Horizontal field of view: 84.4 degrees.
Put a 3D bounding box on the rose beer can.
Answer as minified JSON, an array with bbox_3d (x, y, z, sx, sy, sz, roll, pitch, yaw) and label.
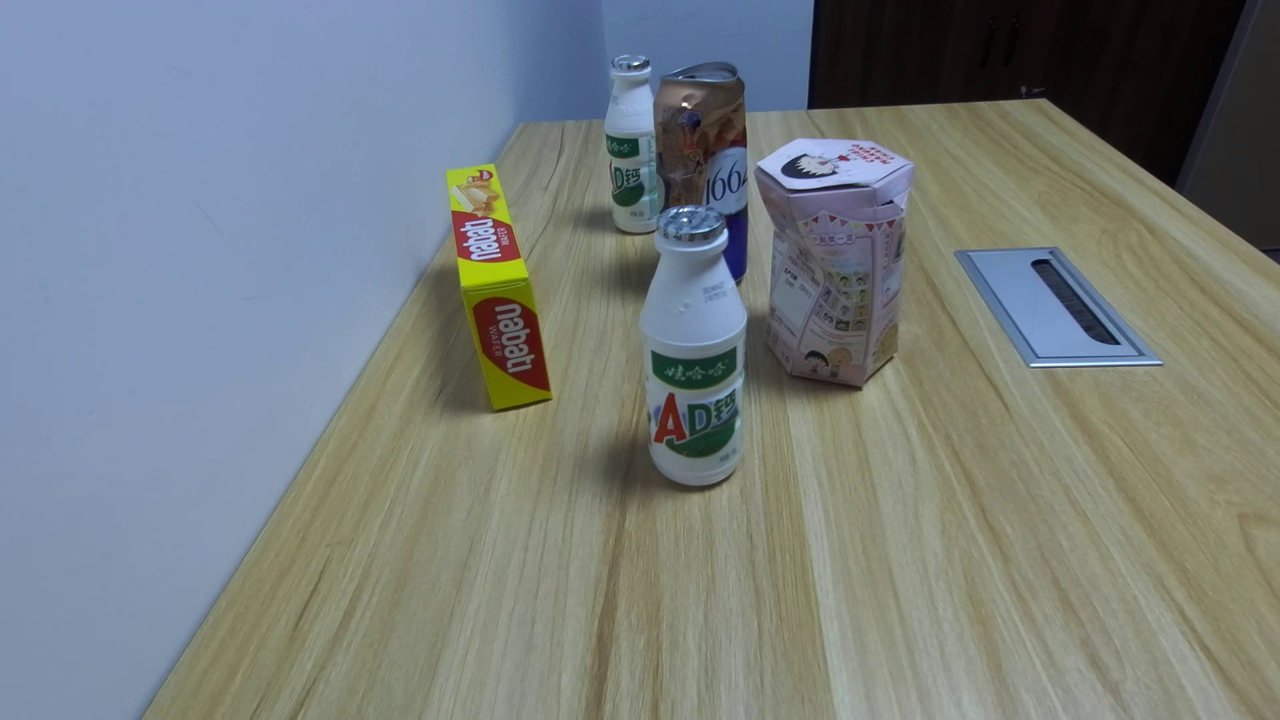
[{"bbox_3d":[0.047,-0.130,0.524,0.068,0.162,0.073,-3,35,5],"label":"rose beer can"}]

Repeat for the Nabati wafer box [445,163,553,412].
[{"bbox_3d":[-0.103,-0.062,0.505,0.042,0.093,0.202,-13,36,-10],"label":"Nabati wafer box"}]

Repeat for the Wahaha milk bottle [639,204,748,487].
[{"bbox_3d":[0.027,-0.003,0.358,0.053,0.147,0.053,-3,36,2],"label":"Wahaha milk bottle"}]

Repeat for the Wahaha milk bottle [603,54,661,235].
[{"bbox_3d":[-0.003,-0.185,0.618,0.056,0.148,0.056,-3,32,2],"label":"Wahaha milk bottle"}]

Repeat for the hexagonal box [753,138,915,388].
[{"bbox_3d":[0.117,-0.058,0.438,0.090,0.135,0.091,9,37,23],"label":"hexagonal box"}]
